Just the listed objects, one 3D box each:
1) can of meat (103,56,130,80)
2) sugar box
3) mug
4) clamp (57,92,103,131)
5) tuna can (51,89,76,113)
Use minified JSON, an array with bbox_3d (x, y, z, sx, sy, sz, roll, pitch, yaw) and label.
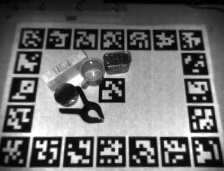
[{"bbox_3d":[0.017,-0.063,0.821,0.102,0.084,0.057,-8,70,-4],"label":"can of meat"},{"bbox_3d":[-0.176,-0.031,0.802,0.177,0.093,0.045,-36,73,-13],"label":"sugar box"},{"bbox_3d":[-0.083,-0.017,0.796,0.093,0.082,0.117,24,75,7],"label":"mug"},{"bbox_3d":[-0.101,0.113,0.785,0.164,0.036,0.122,35,70,6],"label":"clamp"},{"bbox_3d":[-0.179,0.059,0.796,0.086,0.034,0.085,0,73,0],"label":"tuna can"}]
